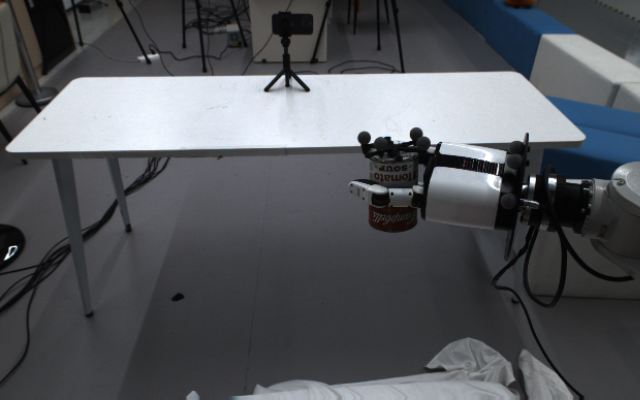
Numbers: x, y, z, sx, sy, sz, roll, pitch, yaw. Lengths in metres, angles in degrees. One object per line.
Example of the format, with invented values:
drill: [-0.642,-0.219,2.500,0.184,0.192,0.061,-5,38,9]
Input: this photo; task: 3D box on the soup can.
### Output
soup can: [0.099,-0.017,0.647,0.067,0.101,0.067,-3,26,2]
